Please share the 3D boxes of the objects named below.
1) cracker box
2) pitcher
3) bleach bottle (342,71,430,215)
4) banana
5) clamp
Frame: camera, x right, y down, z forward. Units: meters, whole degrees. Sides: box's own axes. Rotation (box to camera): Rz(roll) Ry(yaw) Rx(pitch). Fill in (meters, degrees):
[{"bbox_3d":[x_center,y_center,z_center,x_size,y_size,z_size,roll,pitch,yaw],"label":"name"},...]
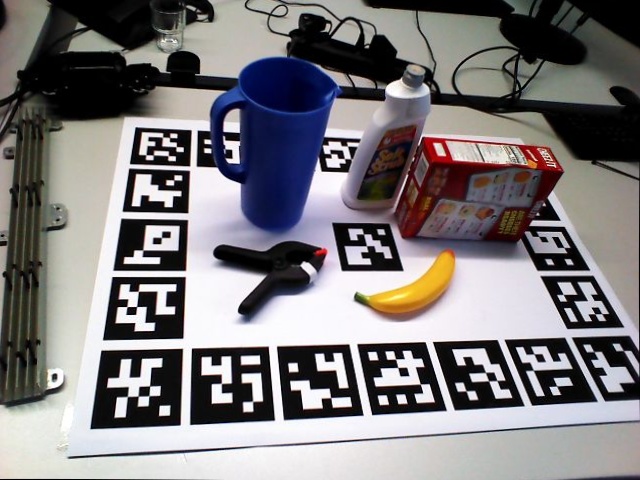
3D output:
[{"bbox_3d":[0.265,-0.077,0.833,0.213,0.165,0.071,0,45,-9],"label":"cracker box"},{"bbox_3d":[-0.067,-0.134,0.753,0.188,0.244,0.133,-14,51,-26],"label":"pitcher"},{"bbox_3d":[0.108,-0.150,0.831,0.102,0.252,0.067,0,47,-12],"label":"bleach bottle"},{"bbox_3d":[0.161,0.070,0.793,0.196,0.039,0.074,-30,59,-32],"label":"banana"},{"bbox_3d":[-0.056,0.047,0.759,0.164,0.037,0.121,-12,50,-24],"label":"clamp"}]
